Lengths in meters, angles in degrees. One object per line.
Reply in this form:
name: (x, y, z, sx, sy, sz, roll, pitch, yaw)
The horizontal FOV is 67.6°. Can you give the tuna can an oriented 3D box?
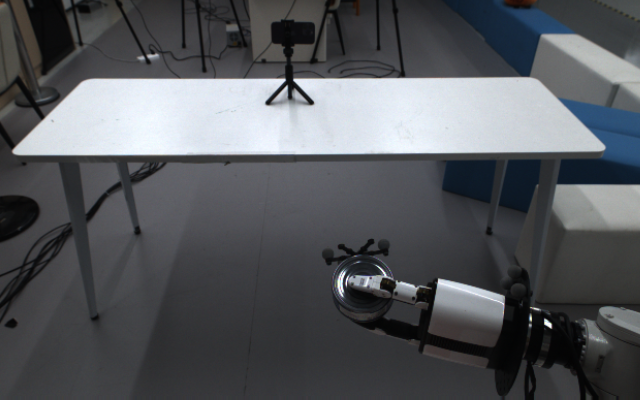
tuna can: (0.061, 0.117, 0.652, 0.085, 0.034, 0.085, -3, 59, 5)
